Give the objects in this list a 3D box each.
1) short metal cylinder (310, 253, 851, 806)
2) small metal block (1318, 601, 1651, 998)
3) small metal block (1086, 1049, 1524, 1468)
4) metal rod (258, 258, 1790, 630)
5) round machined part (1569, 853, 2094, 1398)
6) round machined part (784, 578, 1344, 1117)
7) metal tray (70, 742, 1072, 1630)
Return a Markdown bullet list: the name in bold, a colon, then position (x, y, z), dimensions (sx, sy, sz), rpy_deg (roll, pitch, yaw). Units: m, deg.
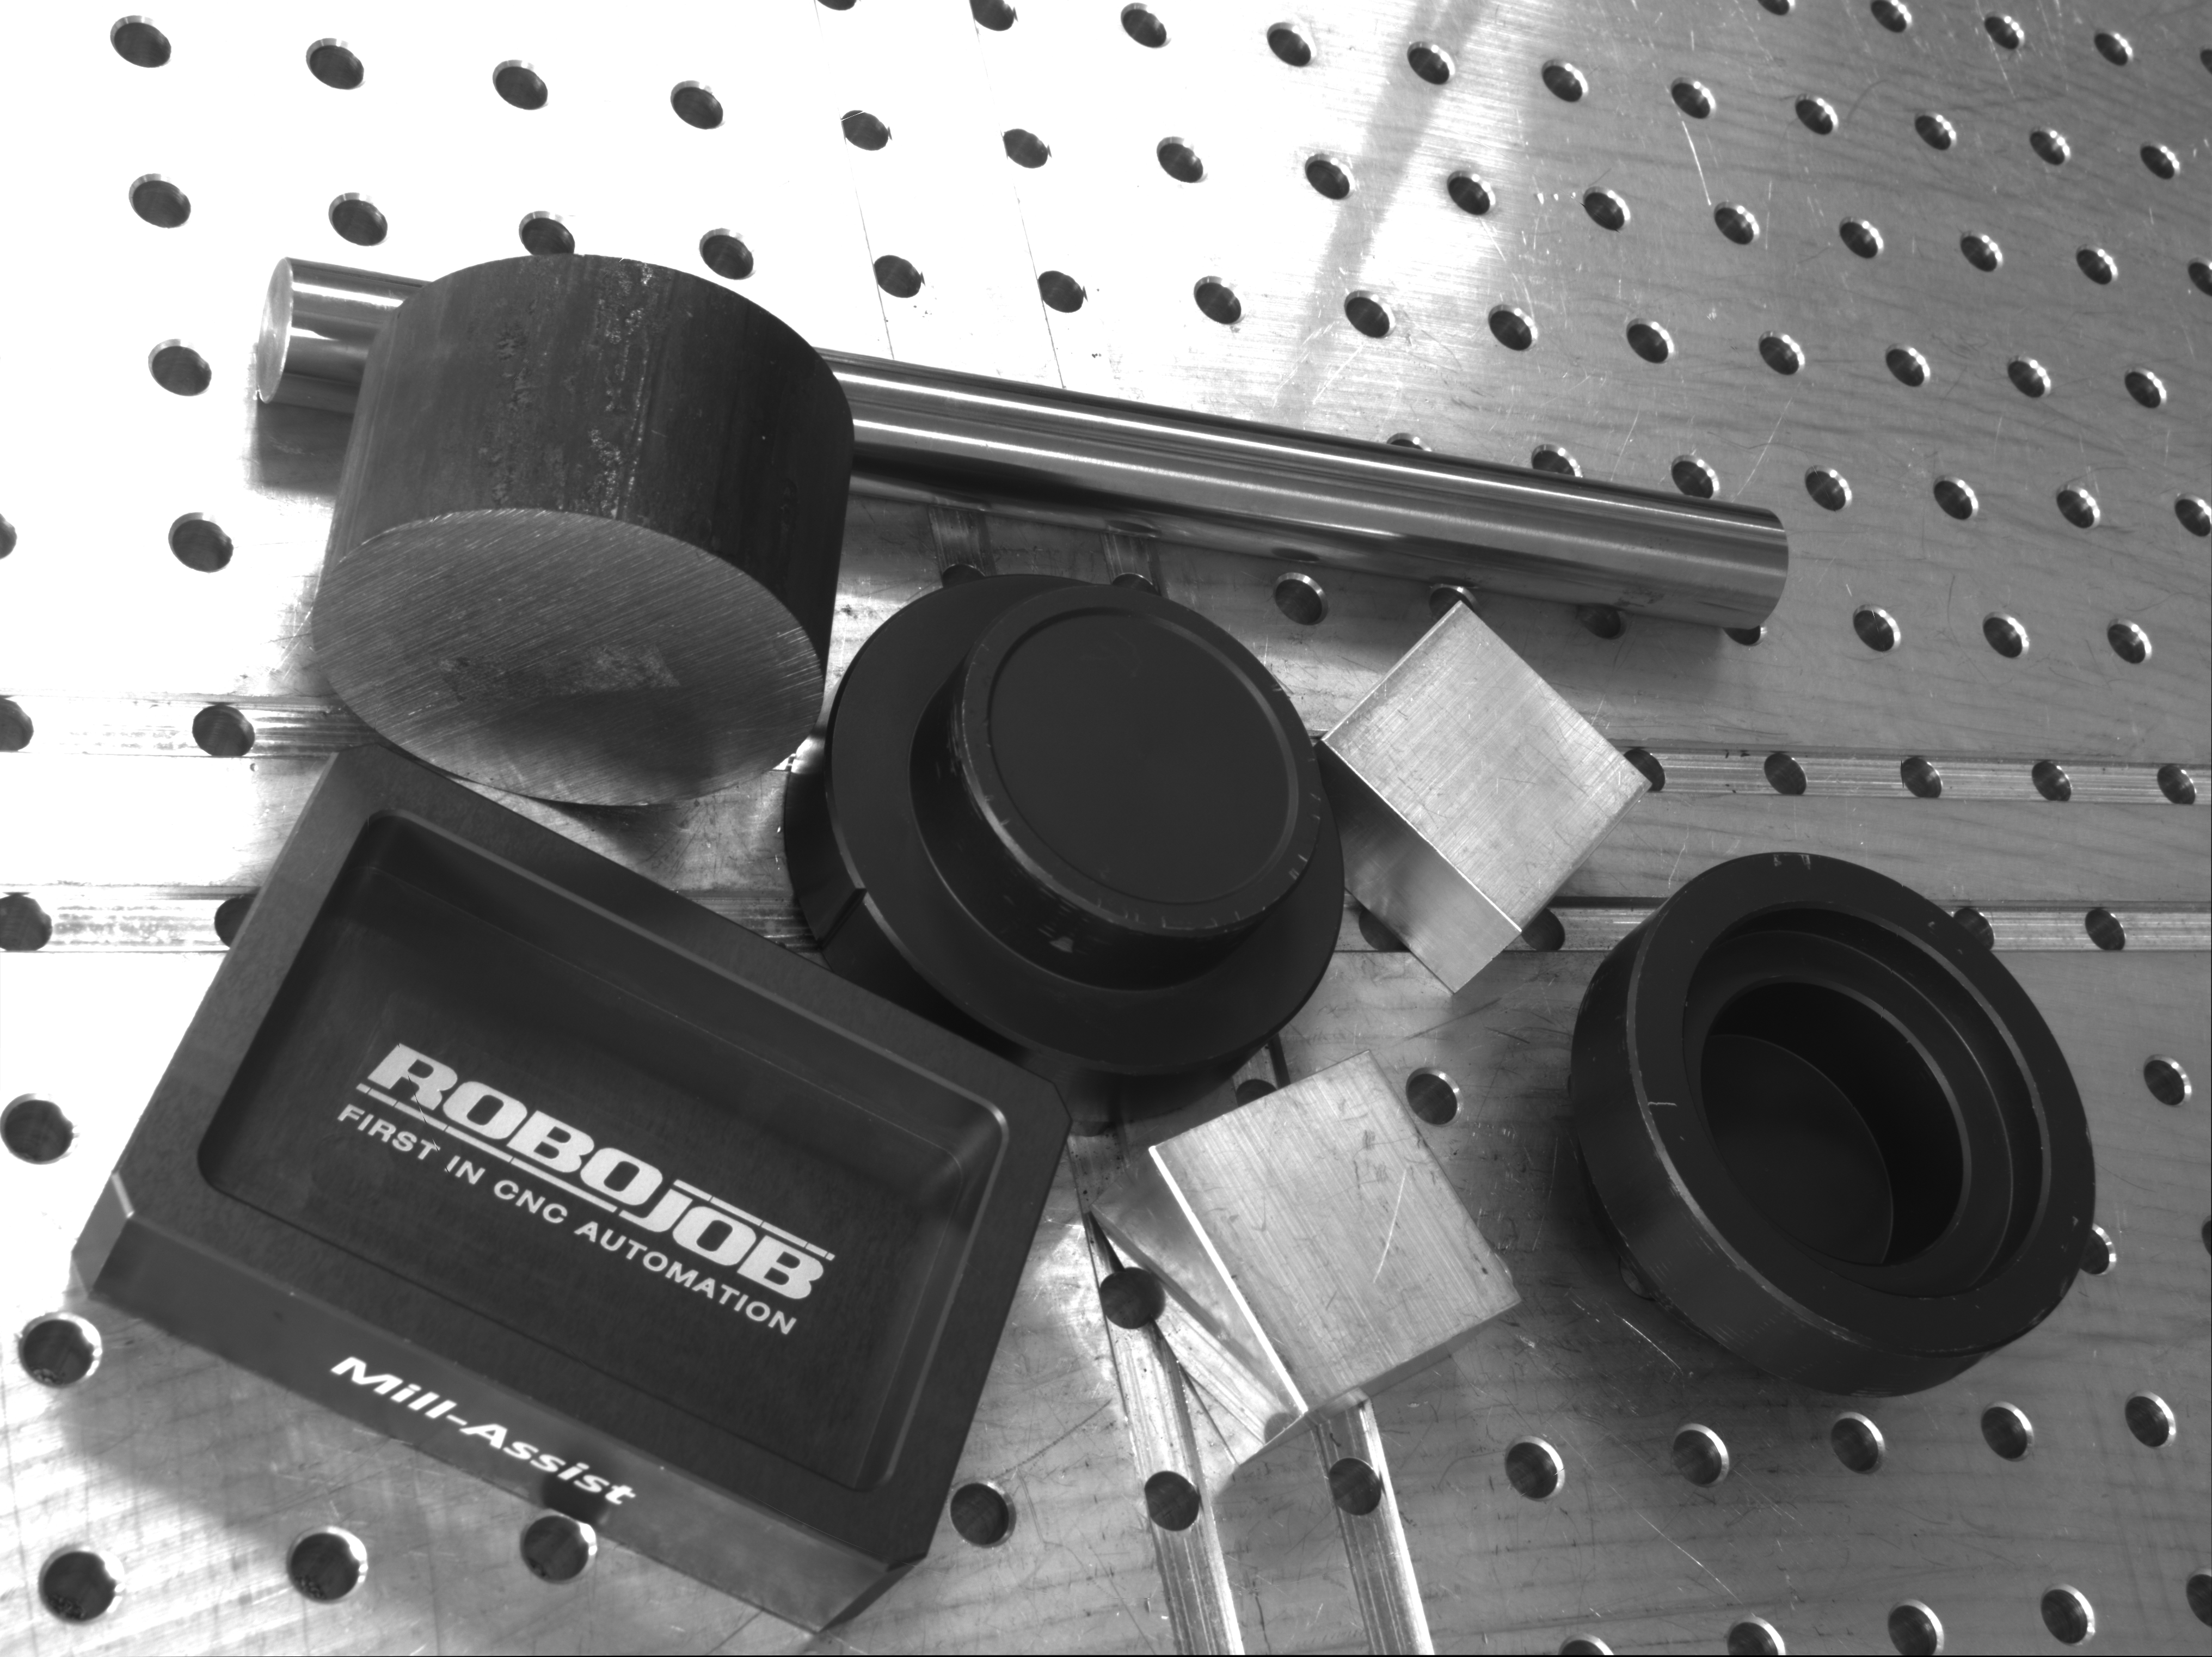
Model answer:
- **short metal cylinder**: position (-0.083, -0.047, 0.590), dimensions (0.080, 0.080, 0.050), rpy_deg (16, 55, -19)
- **small metal block**: position (0.065, -0.006, 0.680), dimensions (0.050, 0.025, 0.050), rpy_deg (44, 51, 2)
- **small metal block**: position (0.033, 0.072, 0.616), dimensions (0.050, 0.025, 0.050), rpy_deg (-21, 73, -36)
- **metal rod**: position (-0.004, -0.068, 0.680), dimensions (0.301, 0.025, 0.025), rpy_deg (6, 59, -25)
- **round machined part**: position (0.126, 0.057, 0.663), dimensions (0.098, 0.042, 0.098), rpy_deg (14, 56, -21)
- **round machined part**: position (-0.002, -0.003, 0.631), dimensions (0.098, 0.042, 0.098), rpy_deg (14, 53, -19)
- **metal tray**: position (-0.079, 0.054, 0.563), dimensions (0.130, 0.030, 0.090), rpy_deg (27, 53, -11)
